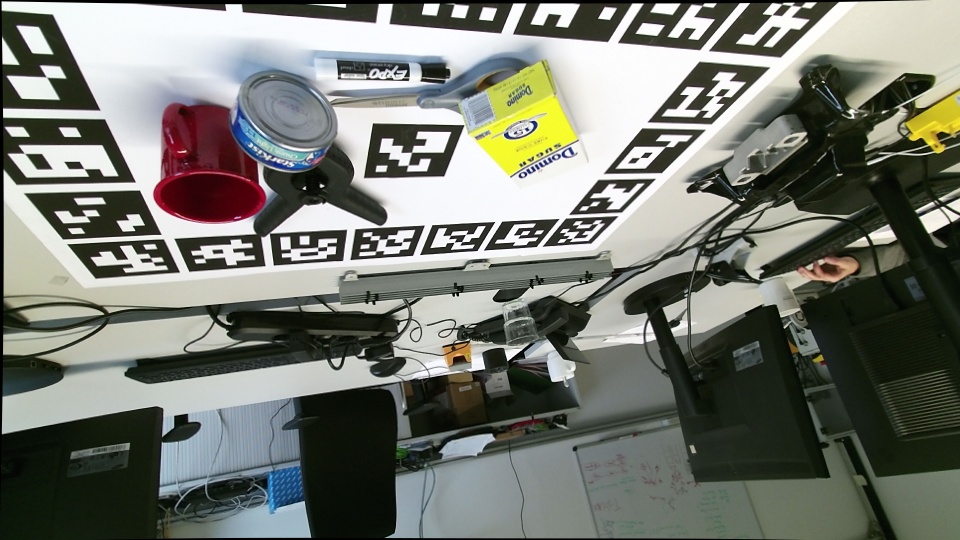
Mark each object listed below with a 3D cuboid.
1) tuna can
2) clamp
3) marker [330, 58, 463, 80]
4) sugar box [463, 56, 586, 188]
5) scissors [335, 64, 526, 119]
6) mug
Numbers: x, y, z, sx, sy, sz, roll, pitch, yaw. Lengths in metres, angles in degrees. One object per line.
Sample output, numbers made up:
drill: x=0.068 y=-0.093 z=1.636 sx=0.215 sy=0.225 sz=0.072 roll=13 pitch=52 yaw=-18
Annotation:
tuna can: x=-0.172 y=-0.132 z=0.474 sx=0.086 sy=0.085 sz=0.034 roll=4 pitch=151 yaw=-35
clamp: x=-0.190 y=-0.100 z=0.621 sx=0.166 sy=0.036 sz=0.203 roll=-9 pitch=155 yaw=-10
marker: x=-0.074 y=-0.185 z=0.493 sx=0.121 sy=0.019 sz=0.019 roll=-7 pitch=155 yaw=-17
sugar box: x=0.056 y=-0.152 z=0.592 sx=0.093 sy=0.045 sz=0.177 roll=-20 pitch=162 yaw=14
scissors: x=-0.042 y=-0.168 z=0.542 sx=0.203 sy=0.016 sz=0.088 roll=-8 pitch=160 yaw=-9
mug: x=-0.244 y=-0.108 z=0.501 sx=0.093 sy=0.081 sz=0.117 roll=-16 pitch=160 yaw=5
